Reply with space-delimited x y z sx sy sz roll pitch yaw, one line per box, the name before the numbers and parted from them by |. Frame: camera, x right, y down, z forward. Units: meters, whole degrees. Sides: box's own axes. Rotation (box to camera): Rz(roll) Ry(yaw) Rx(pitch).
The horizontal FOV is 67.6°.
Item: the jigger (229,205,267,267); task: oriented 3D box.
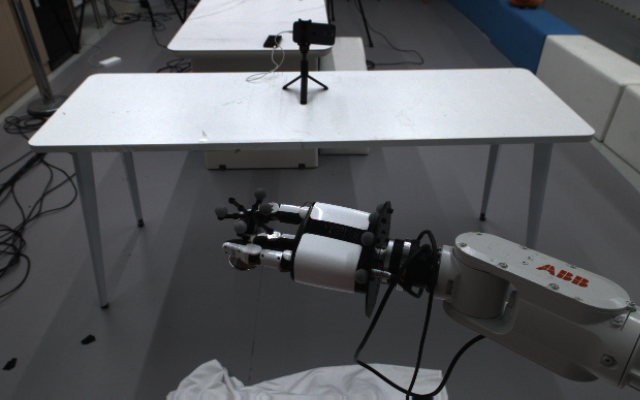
jigger | -0.105 0.061 0.691 0.043 0.071 0.043 10 36 -7
